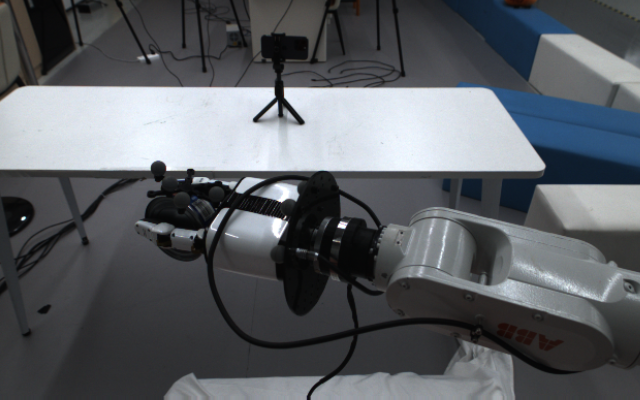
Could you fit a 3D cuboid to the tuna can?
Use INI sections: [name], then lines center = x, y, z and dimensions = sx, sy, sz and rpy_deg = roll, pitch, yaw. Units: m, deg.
[tuna can]
center = -0.159, 0.028, 0.574
dimensions = 0.085, 0.085, 0.034
rpy_deg = 16, 29, 19
